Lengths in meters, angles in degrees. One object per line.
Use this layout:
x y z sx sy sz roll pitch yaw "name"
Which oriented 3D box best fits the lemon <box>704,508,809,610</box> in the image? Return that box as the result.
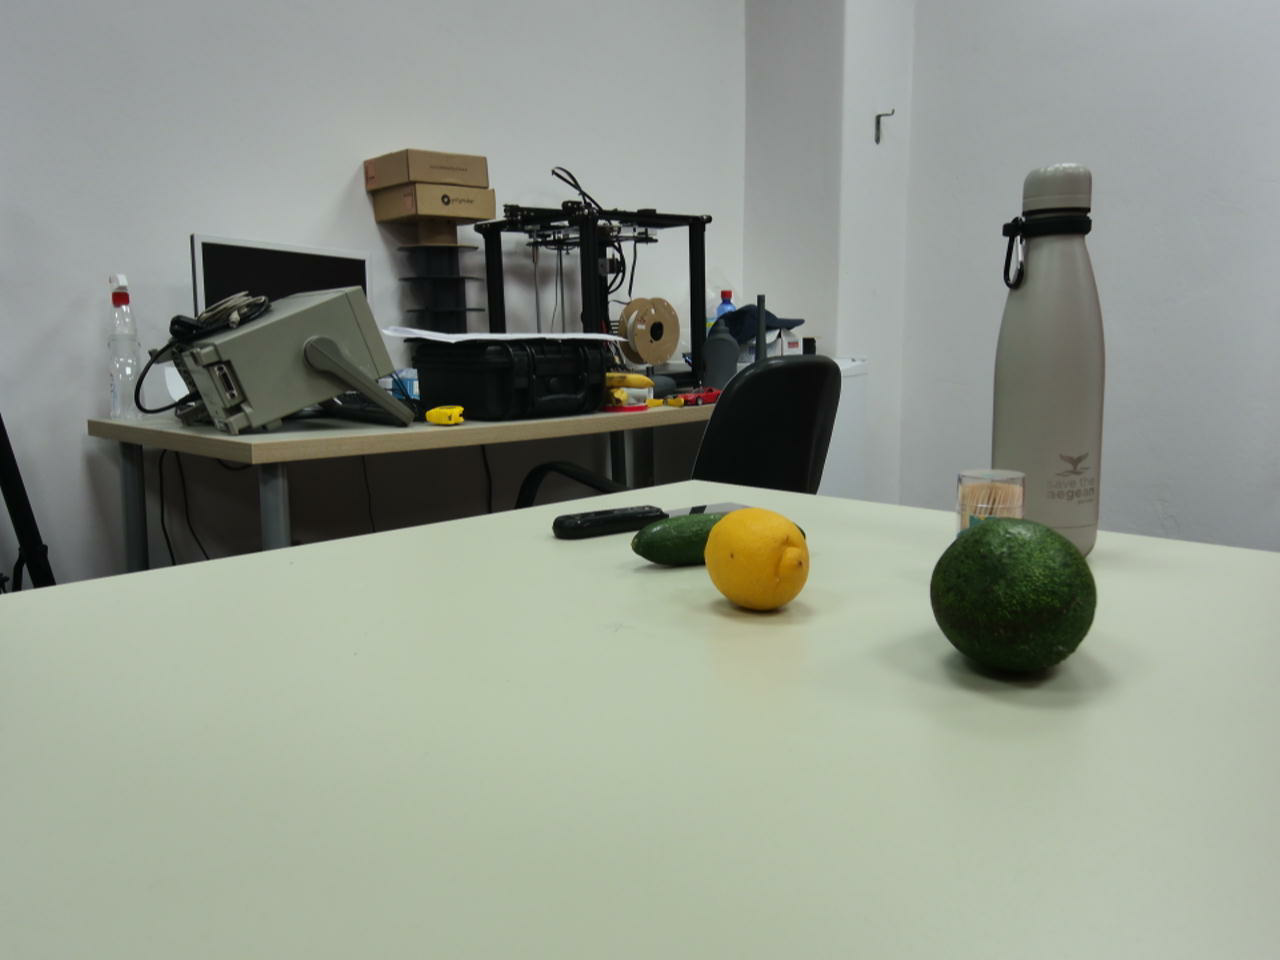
0.070 0.048 0.603 0.061 0.059 0.067 0 6 -1 "lemon"
